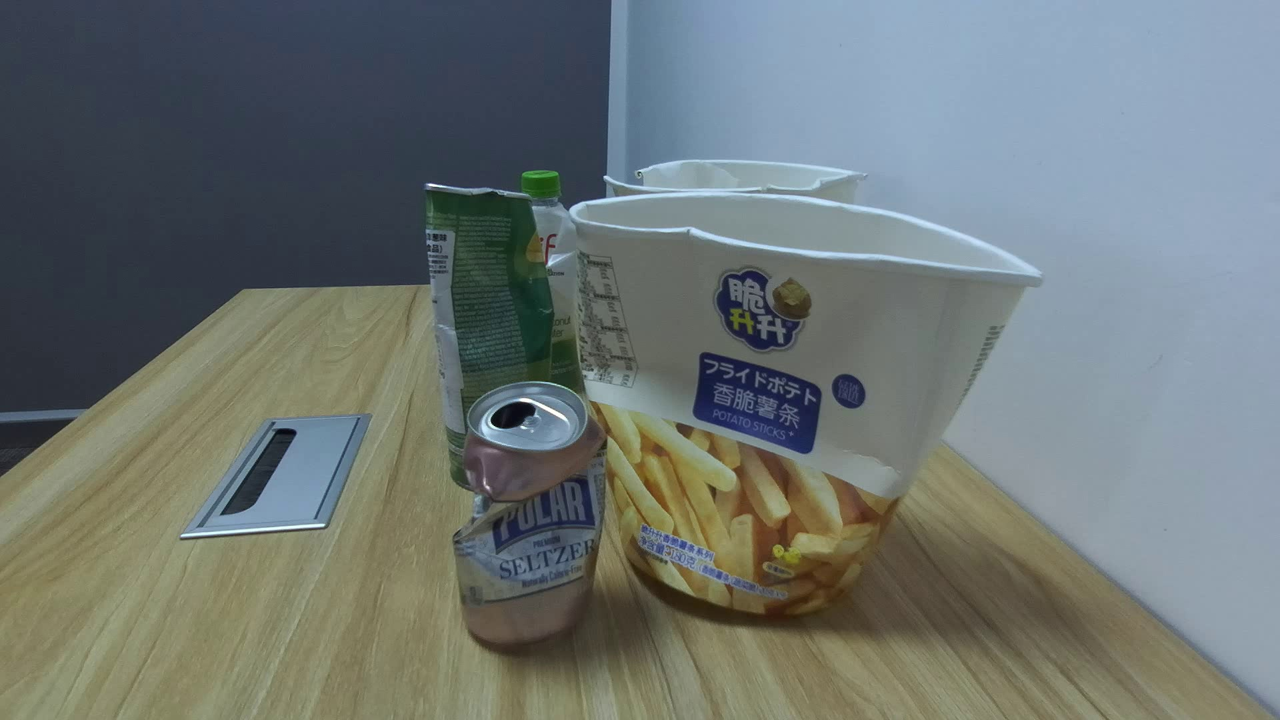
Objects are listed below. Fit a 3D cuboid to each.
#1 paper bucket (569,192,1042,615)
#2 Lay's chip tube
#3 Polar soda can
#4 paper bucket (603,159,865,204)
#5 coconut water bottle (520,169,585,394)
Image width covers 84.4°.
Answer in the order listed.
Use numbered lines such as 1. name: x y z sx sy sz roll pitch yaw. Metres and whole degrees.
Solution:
1. paper bucket: 0.064 0.018 0.389 0.218 0.199 0.147 2 22 3
2. Lay's chip tube: -0.099 -0.017 0.478 0.079 0.199 0.071 -5 16 -19
3. Polar soda can: -0.055 0.079 0.344 0.066 0.121 0.071 14 24 15
4. paper bucket: 0.079 -0.058 0.577 0.145 0.197 0.203 16 26 33
5. coconut water bottle: -0.071 -0.055 0.560 0.067 0.186 0.067 -8 -9 -1
